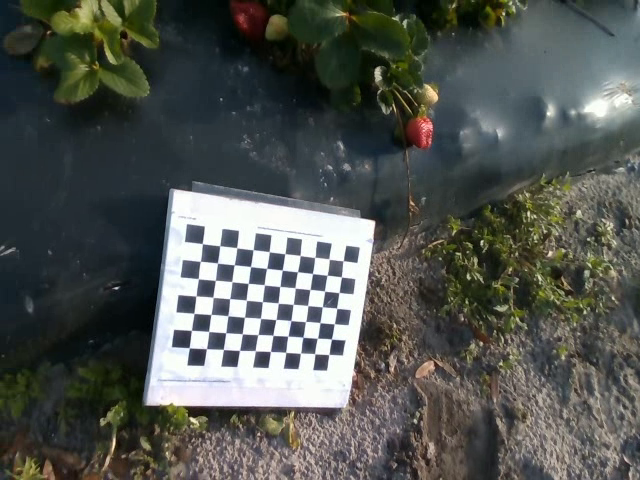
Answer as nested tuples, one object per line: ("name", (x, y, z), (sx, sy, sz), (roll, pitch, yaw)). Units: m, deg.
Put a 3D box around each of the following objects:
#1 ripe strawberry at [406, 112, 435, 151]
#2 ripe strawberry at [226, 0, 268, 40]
("ripe strawberry", (0.157, -0.161, 1.028), (0.048, 0.050, 0.035), (-15, 6, -25))
("ripe strawberry", (-0.097, -0.315, 0.993), (0.057, 0.058, 0.071), (14, -5, 38))
